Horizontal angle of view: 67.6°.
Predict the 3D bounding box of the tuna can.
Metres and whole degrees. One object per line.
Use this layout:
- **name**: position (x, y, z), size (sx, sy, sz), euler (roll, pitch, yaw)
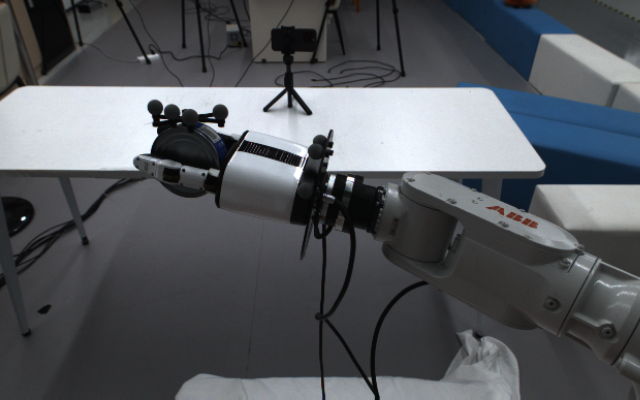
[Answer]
- **tuna can**: position (-0.151, -0.048, 0.572), size (0.085, 0.085, 0.034), euler (9, 22, 9)
